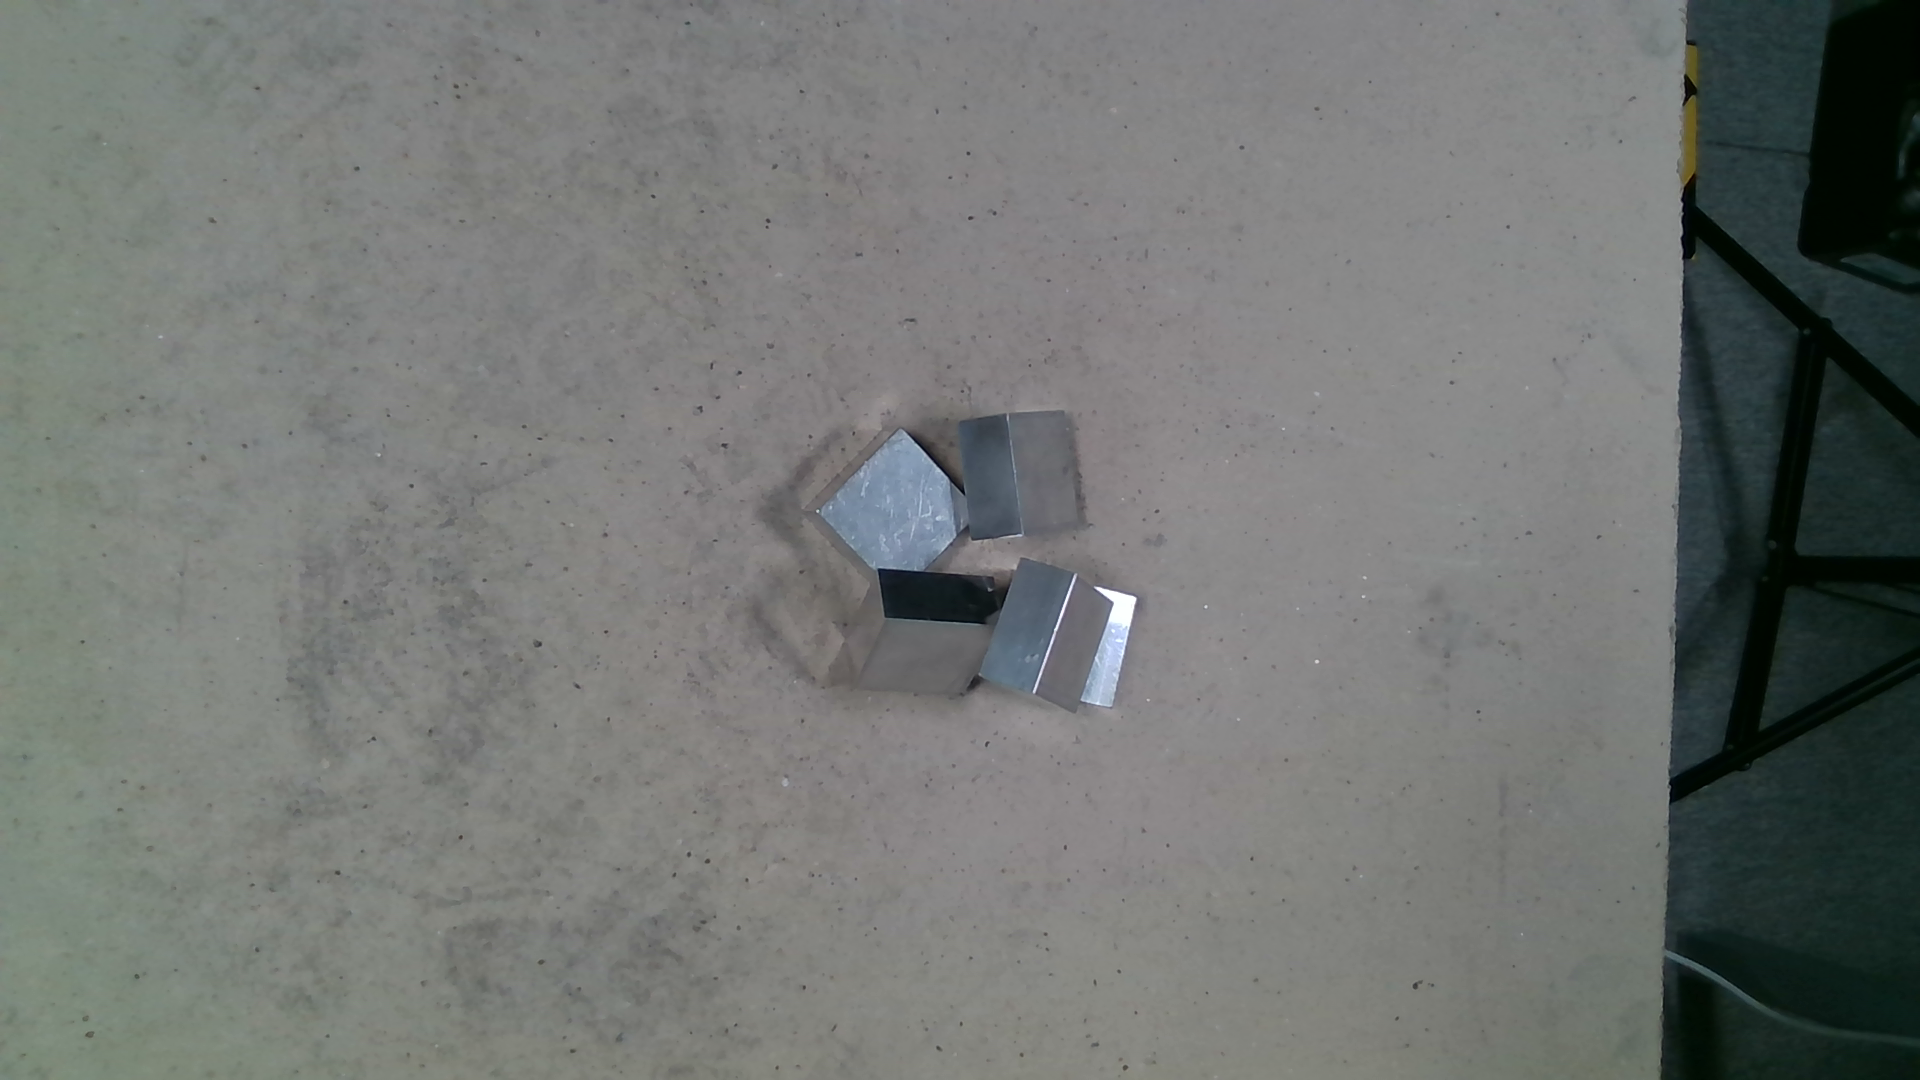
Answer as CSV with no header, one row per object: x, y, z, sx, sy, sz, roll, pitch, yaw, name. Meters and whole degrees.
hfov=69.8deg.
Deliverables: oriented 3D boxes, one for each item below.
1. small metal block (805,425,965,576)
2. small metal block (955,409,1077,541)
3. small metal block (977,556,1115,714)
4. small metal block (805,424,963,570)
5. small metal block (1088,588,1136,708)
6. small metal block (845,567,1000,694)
-0.029,-0.012,0.575,0.050,0.025,0.050,-47,105,-14,small metal block
0.025,-0.028,0.582,0.050,0.025,0.050,-12,96,-58,small metal block
0.036,0.039,0.558,0.050,0.025,0.050,33,75,-62,small metal block
-0.029,-0.012,0.575,0.050,0.025,0.050,47,75,-14,small metal block
0.044,0.043,0.603,0.050,0.025,0.050,15,85,-20,small metal block
-0.015,0.038,0.565,0.050,0.050,0.025,5,50,-21,small metal block
